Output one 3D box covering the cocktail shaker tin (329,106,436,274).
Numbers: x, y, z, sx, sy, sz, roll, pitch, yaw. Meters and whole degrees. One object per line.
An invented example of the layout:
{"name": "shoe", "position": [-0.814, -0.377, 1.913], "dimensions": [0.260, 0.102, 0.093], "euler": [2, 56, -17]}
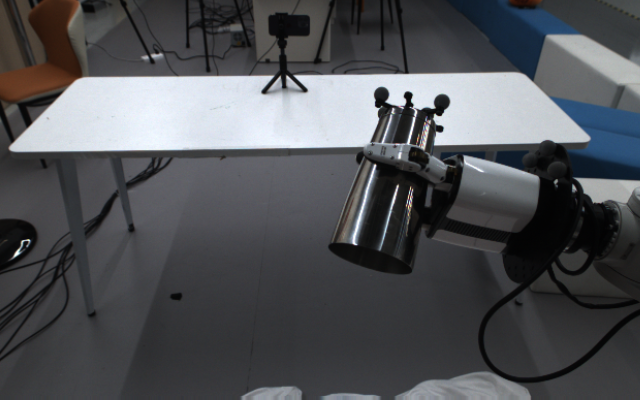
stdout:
{"name": "cocktail shaker tin", "position": [0.077, -0.014, 0.532], "dimensions": [0.093, 0.093, 0.170], "euler": [13, 70, 15]}
